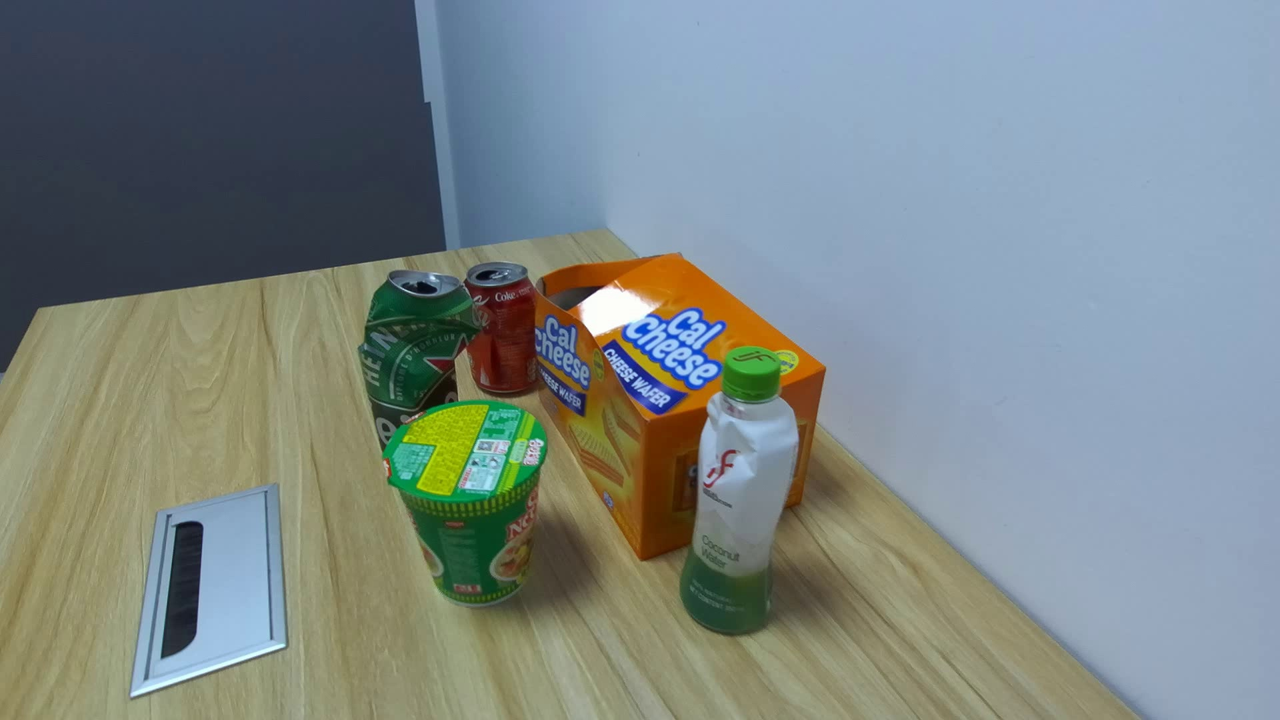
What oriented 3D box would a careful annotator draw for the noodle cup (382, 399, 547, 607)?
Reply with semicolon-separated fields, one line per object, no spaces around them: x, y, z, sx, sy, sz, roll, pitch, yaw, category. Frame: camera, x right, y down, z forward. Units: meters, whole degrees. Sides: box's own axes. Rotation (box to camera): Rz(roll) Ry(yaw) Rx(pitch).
-0.107;0.098;0.463;0.097;0.110;0.097;1;33;-1;noodle cup

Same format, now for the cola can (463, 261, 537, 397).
-0.127;-0.030;0.661;0.067;0.117;0.065;-16;33;-28;cola can

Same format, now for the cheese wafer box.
0.016;0.021;0.575;0.153;0.132;0.229;-14;37;-22;cheese wafer box

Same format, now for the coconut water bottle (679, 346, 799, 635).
0.059;0.077;0.423;0.069;0.186;0.069;0;31;0;coconut water bottle

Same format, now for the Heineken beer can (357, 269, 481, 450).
-0.176;0.009;0.558;0.067;0.159;0.079;27;33;30;Heineken beer can
